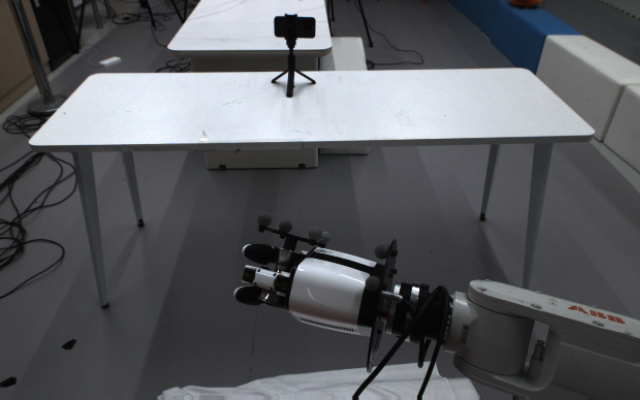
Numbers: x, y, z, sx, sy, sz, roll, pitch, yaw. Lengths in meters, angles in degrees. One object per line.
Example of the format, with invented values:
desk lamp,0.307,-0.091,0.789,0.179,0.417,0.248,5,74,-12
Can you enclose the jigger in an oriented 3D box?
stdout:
jigger,-0.045,0.096,0.610,0.043,0.071,0.043,15,-7,2
